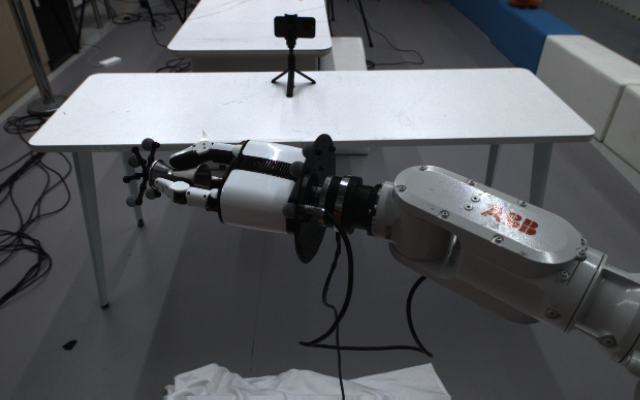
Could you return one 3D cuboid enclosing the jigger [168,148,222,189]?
[{"bbox_3d":[-0.177,-0.032,0.634,0.071,0.043,0.043,7,35,16],"label":"jigger"}]
